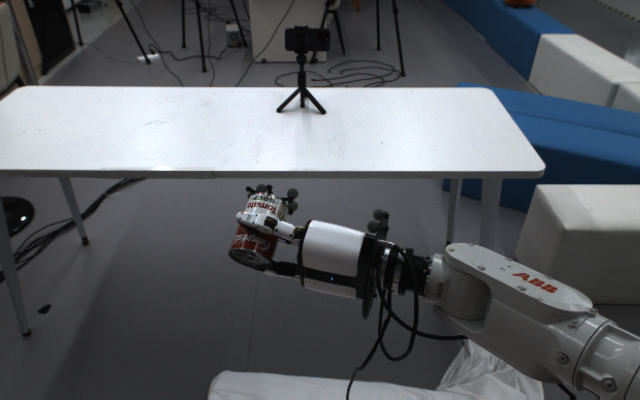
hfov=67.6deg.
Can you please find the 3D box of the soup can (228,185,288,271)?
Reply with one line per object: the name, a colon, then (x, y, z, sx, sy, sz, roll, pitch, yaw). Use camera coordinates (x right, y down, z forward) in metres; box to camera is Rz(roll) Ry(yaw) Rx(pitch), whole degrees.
soup can: (-0.092, 0.048, 0.750, 0.067, 0.067, 0.101, 9, 60, 10)
